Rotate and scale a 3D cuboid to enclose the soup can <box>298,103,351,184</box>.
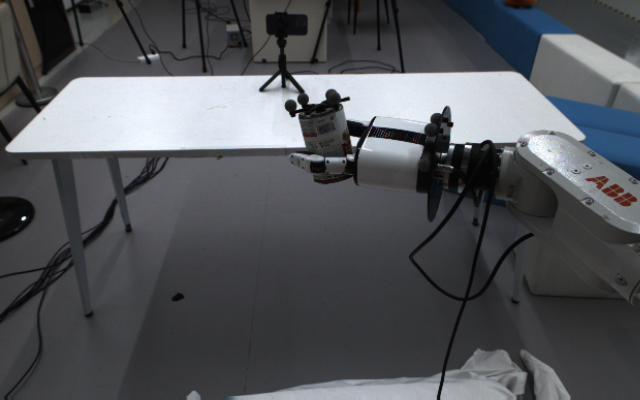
[{"bbox_3d":[0.013,-0.083,0.703,0.067,0.101,0.067,-13,20,5],"label":"soup can"}]
